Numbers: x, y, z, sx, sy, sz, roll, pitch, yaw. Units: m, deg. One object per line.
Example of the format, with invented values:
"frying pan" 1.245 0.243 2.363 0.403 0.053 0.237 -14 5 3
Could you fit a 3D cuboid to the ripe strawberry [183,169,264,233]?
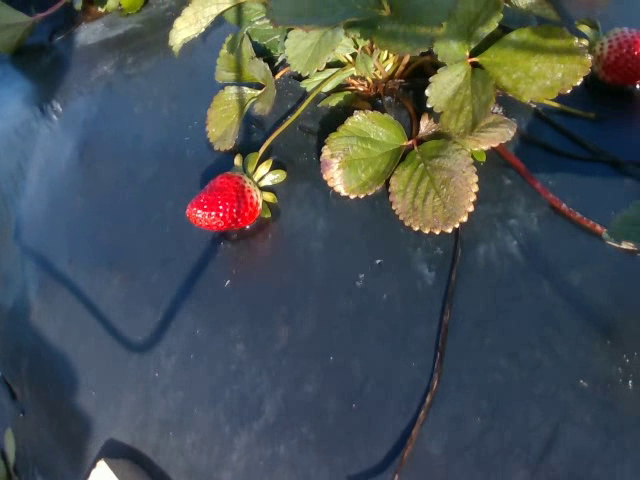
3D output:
"ripe strawberry" -0.041 -0.014 0.244 0.028 0.031 0.041 -6 12 38
